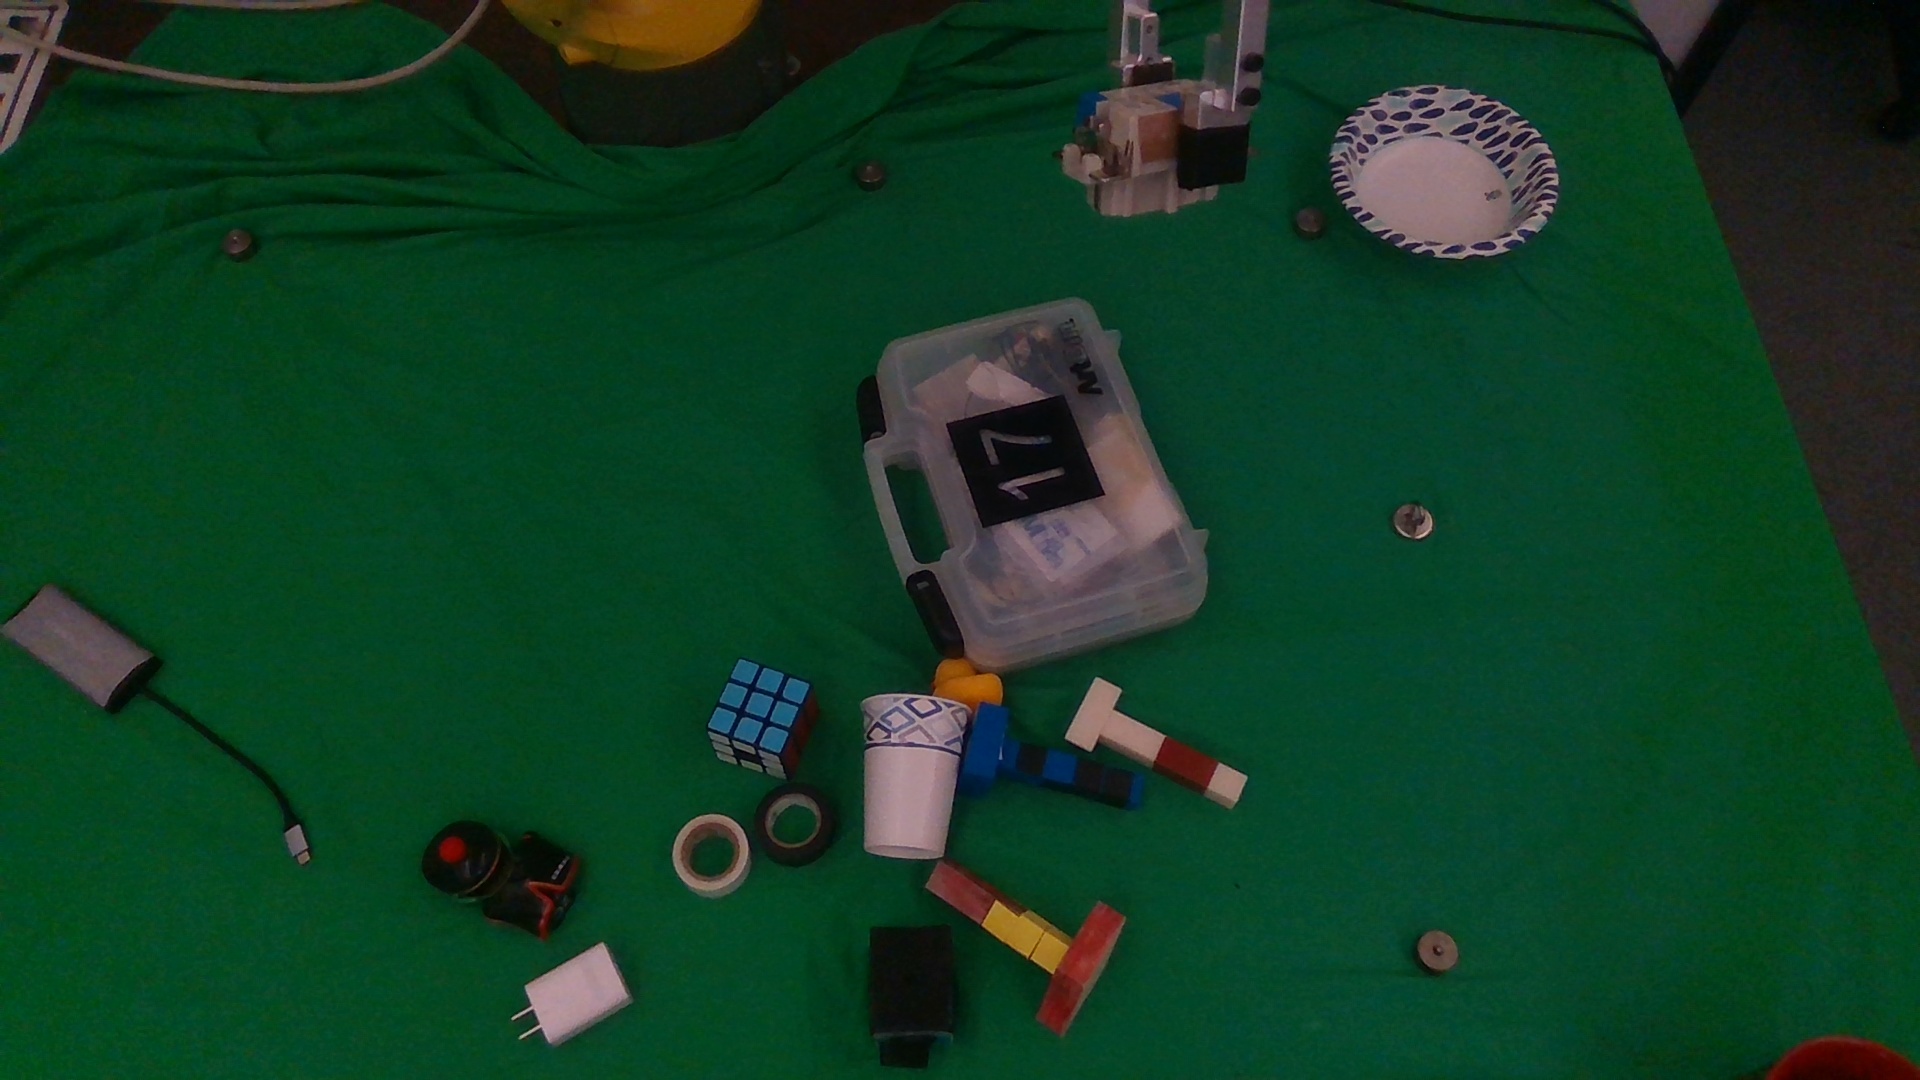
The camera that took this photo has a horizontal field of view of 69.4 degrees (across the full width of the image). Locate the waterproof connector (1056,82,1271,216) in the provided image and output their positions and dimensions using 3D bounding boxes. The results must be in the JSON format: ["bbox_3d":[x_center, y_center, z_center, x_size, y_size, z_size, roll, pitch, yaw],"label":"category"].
[{"bbox_3d":[0.067,-0.129,0.461,0.065,0.037,0.035,-13,29,-16],"label":"waterproof connector"}]

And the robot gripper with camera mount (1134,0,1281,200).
[{"bbox_3d":[0.011,-0.167,0.391,0.193,0.158,0.119,-17,29,-26],"label":"robot gripper with camera mount"}]
